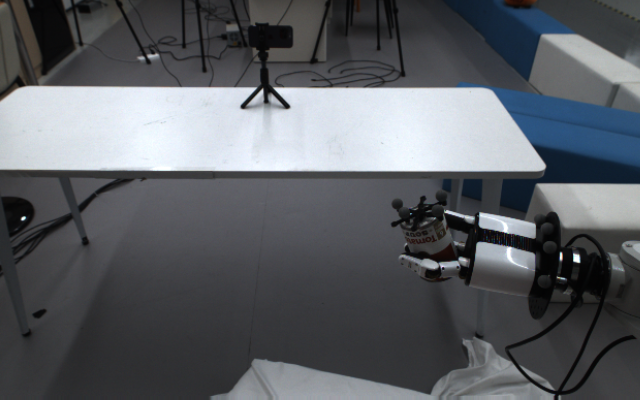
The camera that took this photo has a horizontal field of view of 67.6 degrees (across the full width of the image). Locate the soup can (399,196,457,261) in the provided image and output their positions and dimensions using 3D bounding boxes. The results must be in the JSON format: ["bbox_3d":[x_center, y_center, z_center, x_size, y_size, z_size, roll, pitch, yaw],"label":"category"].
[{"bbox_3d":[0.169,0.064,0.735,0.067,0.101,0.067,-21,24,10],"label":"soup can"}]
